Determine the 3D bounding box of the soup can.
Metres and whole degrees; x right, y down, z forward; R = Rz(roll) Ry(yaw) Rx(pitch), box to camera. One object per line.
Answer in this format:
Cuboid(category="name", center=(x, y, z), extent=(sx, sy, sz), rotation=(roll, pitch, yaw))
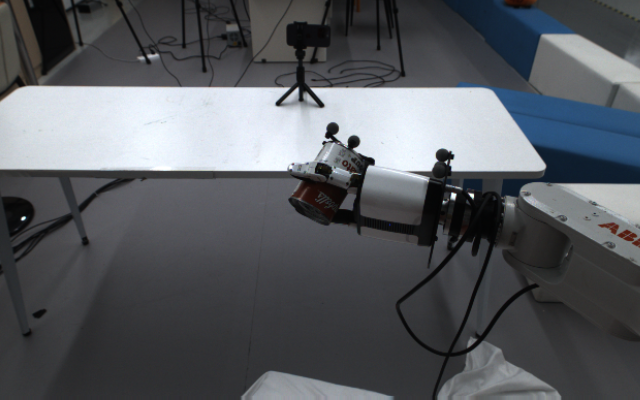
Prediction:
Cuboid(category="soup can", center=(0.011, -0.024, 0.680), extent=(0.067, 0.067, 0.101), rotation=(24, 73, 28))
